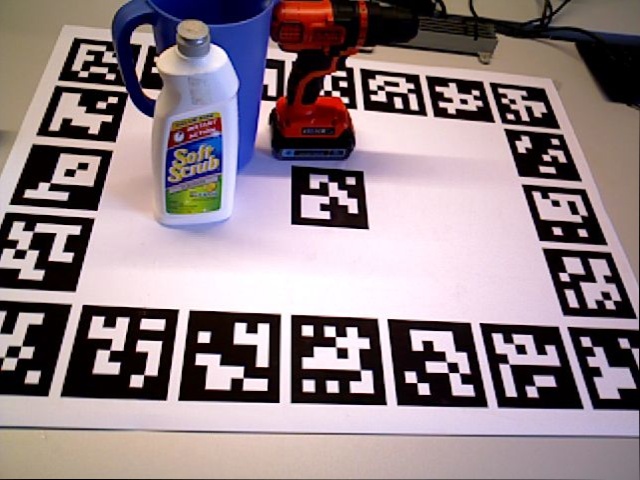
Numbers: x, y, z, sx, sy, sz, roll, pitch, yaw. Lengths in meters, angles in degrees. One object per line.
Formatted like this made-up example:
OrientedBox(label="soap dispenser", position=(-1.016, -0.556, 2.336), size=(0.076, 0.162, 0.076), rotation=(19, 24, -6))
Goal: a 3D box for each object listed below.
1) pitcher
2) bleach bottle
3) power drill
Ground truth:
OrientedBox(label="pitcher", position=(-0.130, -0.199, 0.624), size=(0.185, 0.248, 0.132), rotation=(-21, 64, -22))
OrientedBox(label="bleach bottle", position=(-0.132, -0.127, 0.551), size=(0.101, 0.256, 0.067), rotation=(-4, 57, -12))
OrientedBox(label="power drill", position=(0.032, -0.201, 0.664), size=(0.182, 0.191, 0.057), rotation=(1, 59, -16))
